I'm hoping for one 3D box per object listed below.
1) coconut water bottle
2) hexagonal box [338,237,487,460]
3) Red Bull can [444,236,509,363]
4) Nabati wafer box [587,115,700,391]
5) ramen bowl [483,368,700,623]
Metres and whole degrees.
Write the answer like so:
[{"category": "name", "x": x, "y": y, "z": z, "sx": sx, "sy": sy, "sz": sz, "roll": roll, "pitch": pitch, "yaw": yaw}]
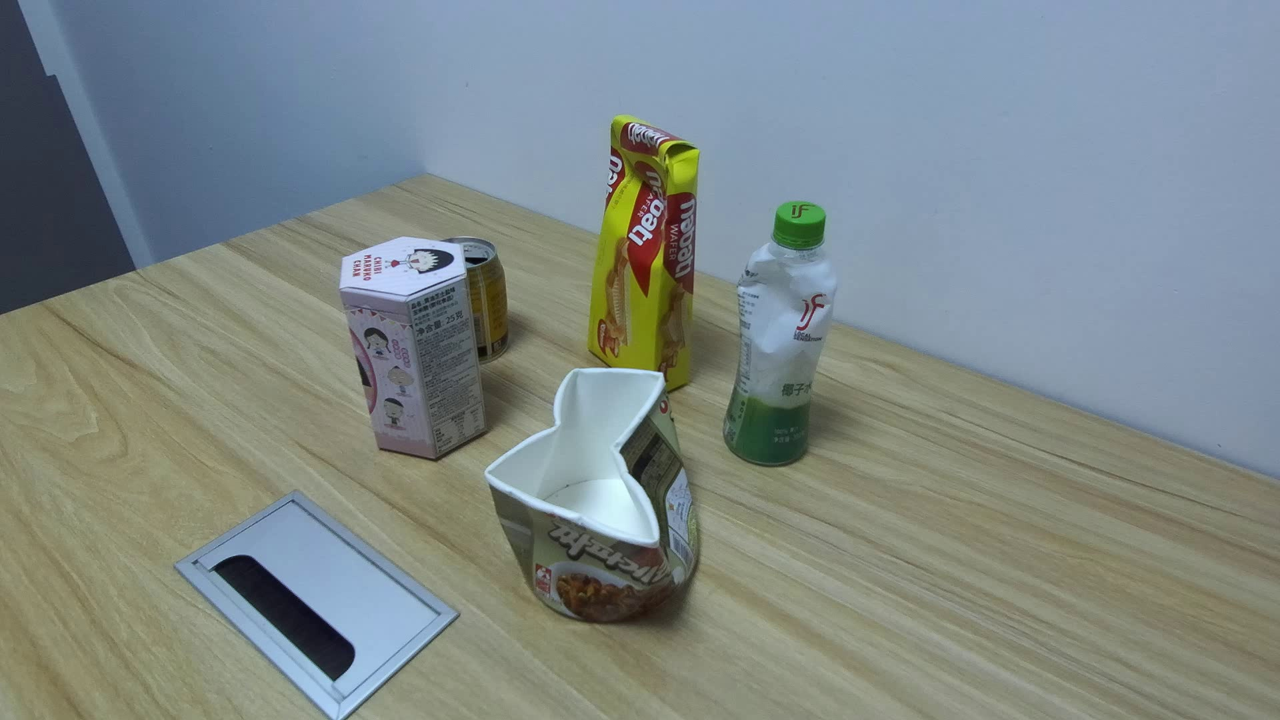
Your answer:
[{"category": "coconut water bottle", "x": 0.097, "y": -0.016, "z": 0.481, "sx": 0.069, "sy": 0.187, "sz": 0.069, "roll": 2, "pitch": 35, "yaw": -1}, {"category": "hexagonal box", "x": -0.159, "y": -0.007, "z": 0.503, "sx": 0.084, "sy": 0.136, "sz": 0.091, "roll": -8, "pitch": 36, "yaw": -16}, {"category": "Red Bull can", "x": -0.150, "y": -0.051, "z": 0.608, "sx": 0.068, "sy": 0.093, "sz": 0.068, "roll": 2, "pitch": 35, "yaw": -1}, {"category": "Nabati wafer box", "x": 0.001, "y": -0.077, "z": 0.550, "sx": 0.043, "sy": 0.205, "sz": 0.113, "roll": -22, "pitch": 40, "yaw": -32}, {"category": "ramen bowl", "x": -0.016, "y": 0.078, "z": 0.423, "sx": 0.111, "sy": 0.093, "sz": 0.128, "roll": 15, "pitch": 38, "yaw": 17}]
